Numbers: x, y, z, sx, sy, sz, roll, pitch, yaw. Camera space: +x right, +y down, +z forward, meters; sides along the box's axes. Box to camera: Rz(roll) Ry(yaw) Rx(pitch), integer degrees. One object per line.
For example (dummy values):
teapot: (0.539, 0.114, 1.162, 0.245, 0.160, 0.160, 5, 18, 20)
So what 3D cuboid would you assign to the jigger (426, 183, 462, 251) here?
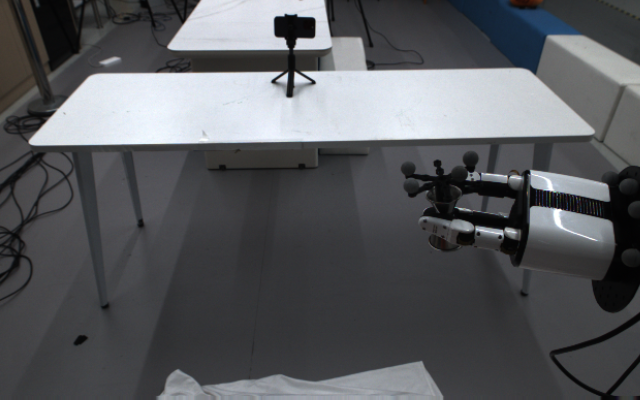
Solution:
jigger: (0.146, 0.020, 0.567, 0.043, 0.071, 0.043, -10, 31, 6)
